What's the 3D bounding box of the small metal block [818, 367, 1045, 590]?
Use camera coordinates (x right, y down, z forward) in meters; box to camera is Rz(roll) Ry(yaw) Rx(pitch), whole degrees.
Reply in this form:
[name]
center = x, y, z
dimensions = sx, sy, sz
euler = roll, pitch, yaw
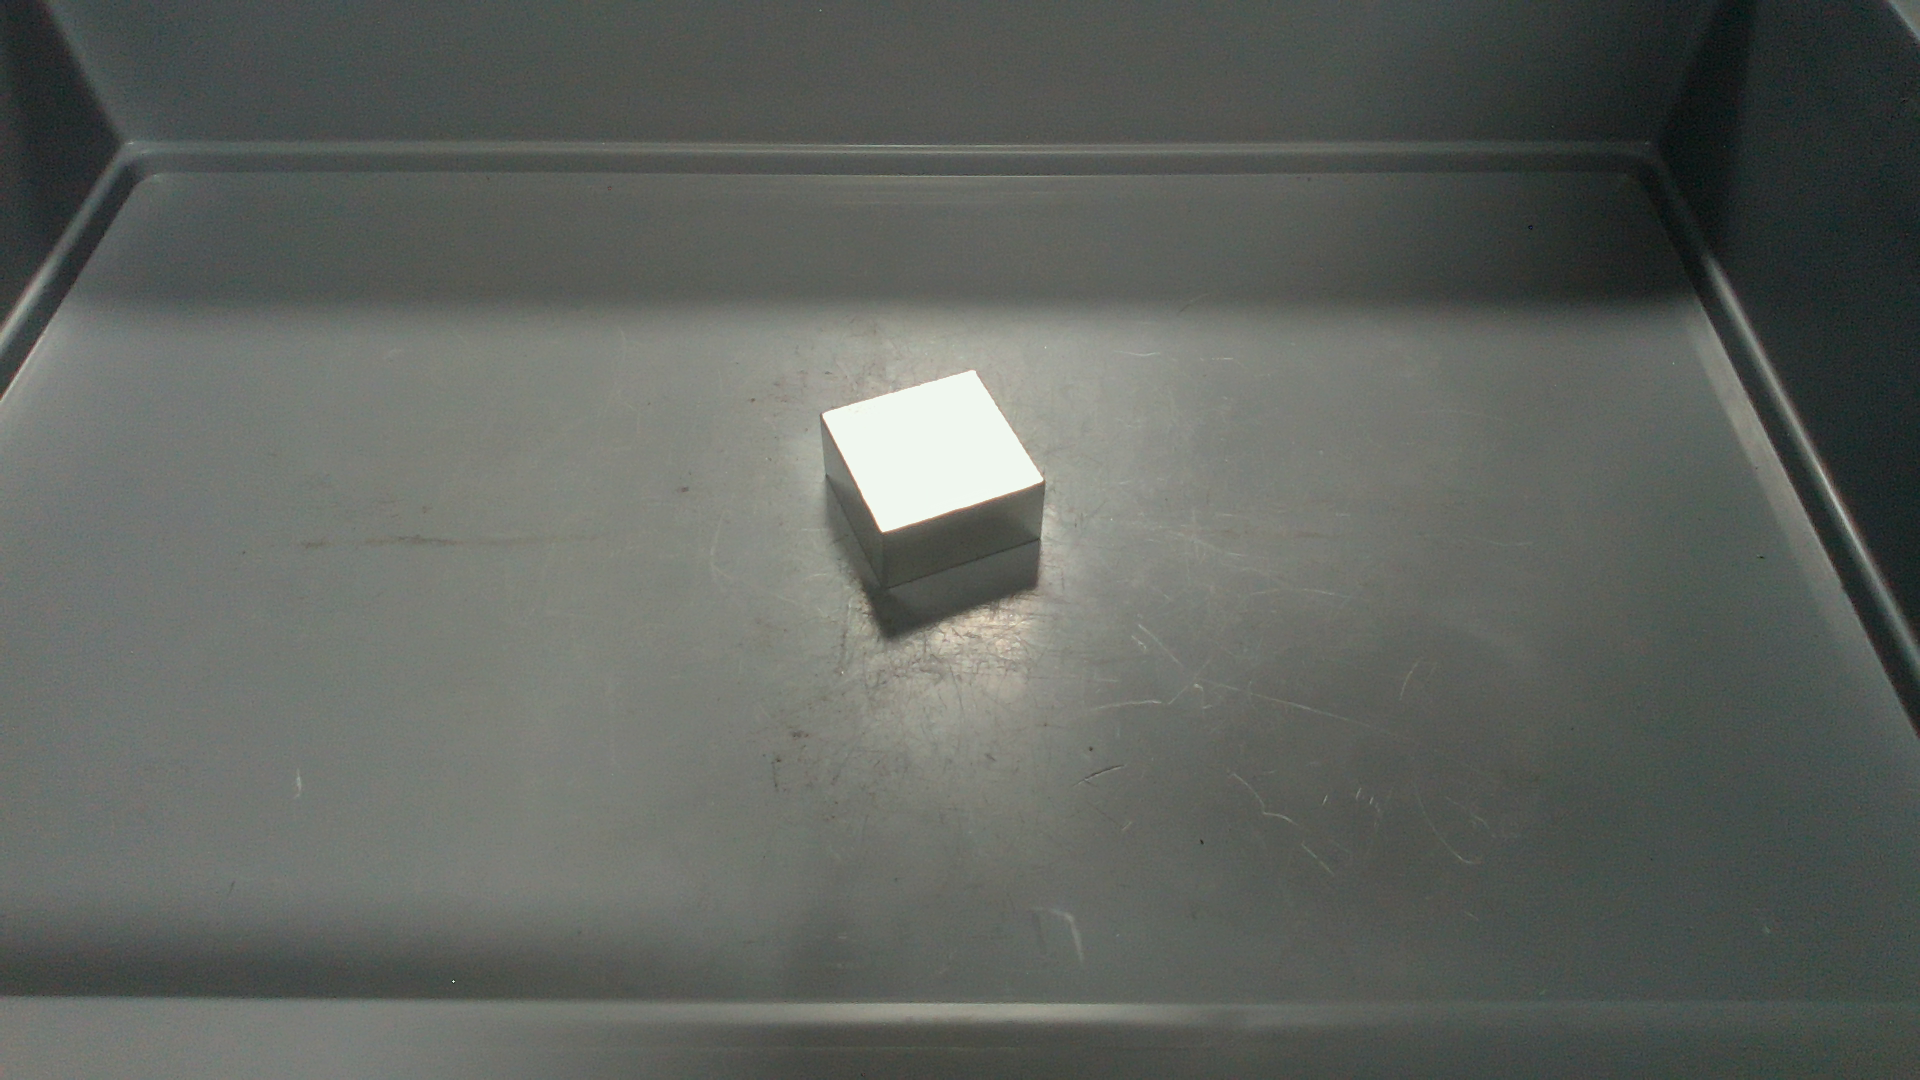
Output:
[small metal block]
center = -0.009, -0.019, 0.404
dimensions = 0.050, 0.025, 0.050
euler = -18, 52, -15
